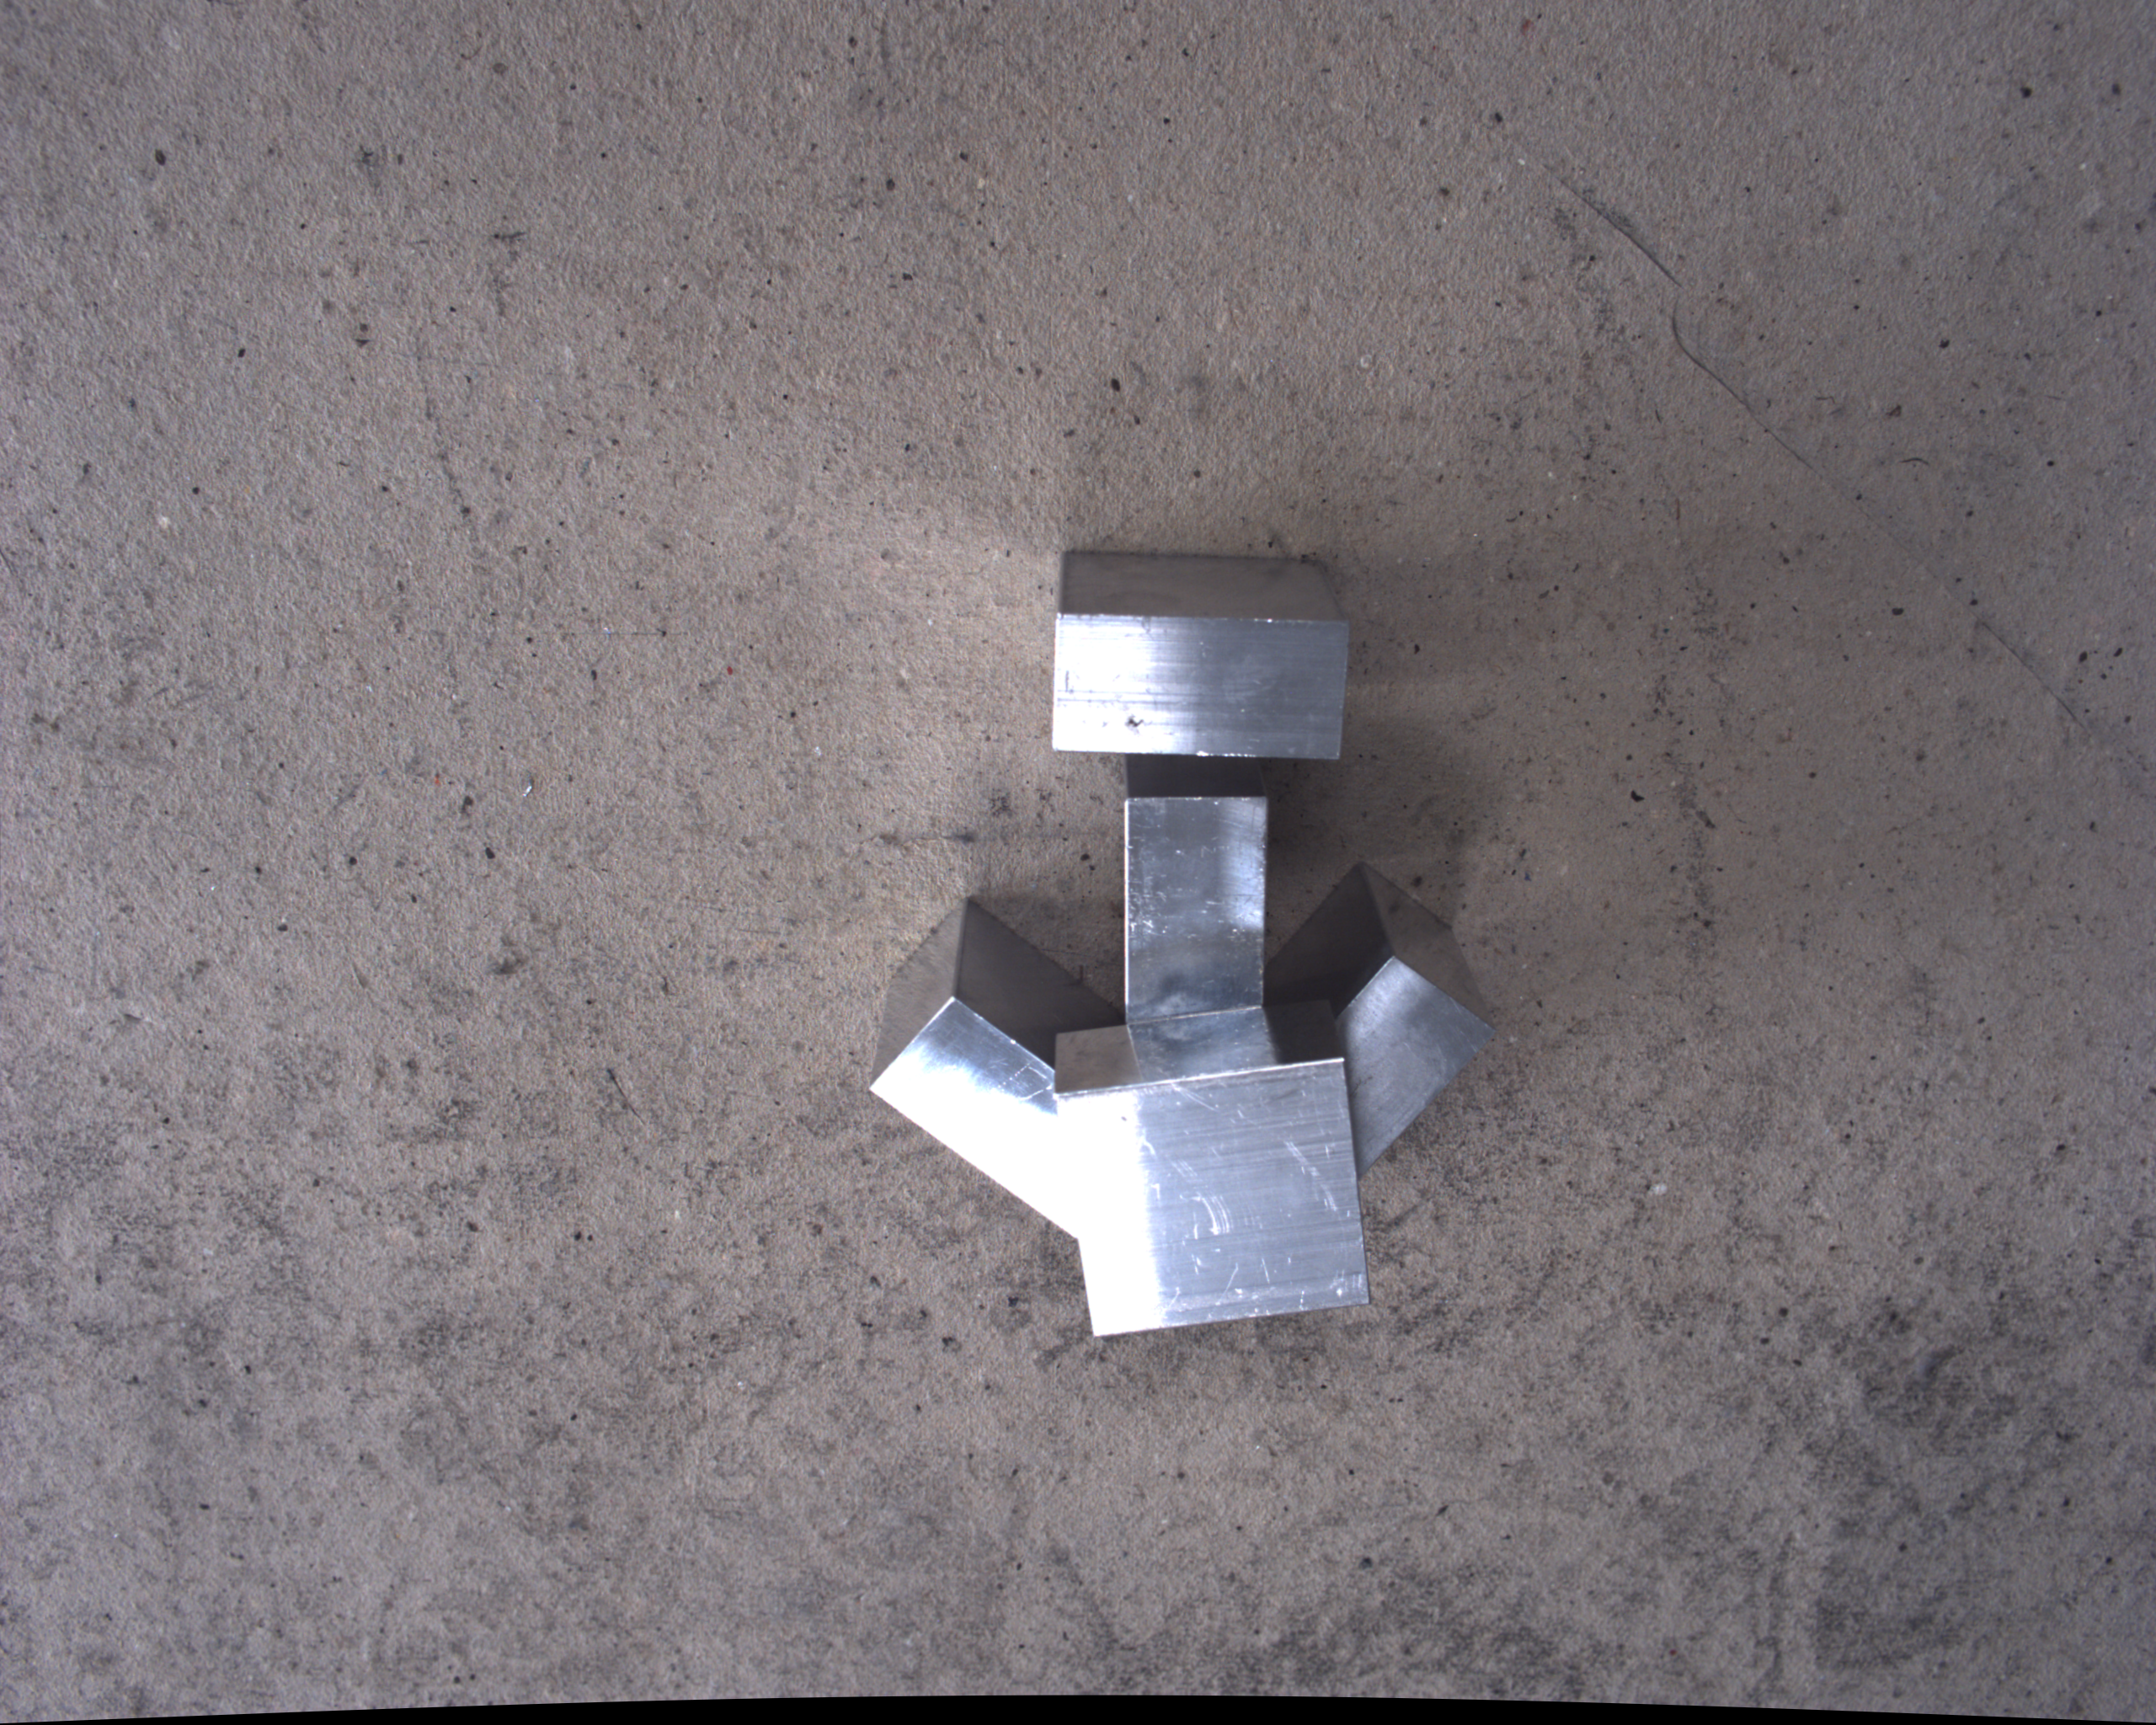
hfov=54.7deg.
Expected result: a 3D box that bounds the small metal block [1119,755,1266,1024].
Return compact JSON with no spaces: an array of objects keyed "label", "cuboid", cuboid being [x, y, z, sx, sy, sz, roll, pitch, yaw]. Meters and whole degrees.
[{"label":"small metal block","cuboid":[0.021,0.003,0.400,0.025,0.050,0.050,-1,110,-1]}]

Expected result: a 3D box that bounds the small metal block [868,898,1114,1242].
[{"label":"small metal block","cuboid":[-0.012,0.040,0.412,0.050,0.050,0.025,38,105,-14]}]

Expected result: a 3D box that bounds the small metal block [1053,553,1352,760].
[{"label":"small metal block","cuboid":[0.021,-0.039,0.383,0.050,0.050,0.025,2,110,-1]}]

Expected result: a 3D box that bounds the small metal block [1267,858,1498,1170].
[{"label":"small metal block","cuboid":[0.052,0.033,0.411,0.025,0.050,0.050,36,106,-12]}]

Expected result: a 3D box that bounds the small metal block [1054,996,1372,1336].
[{"label":"small metal block","cuboid":[0.024,0.055,0.379,0.050,0.025,0.050,-7,110,3]}]
